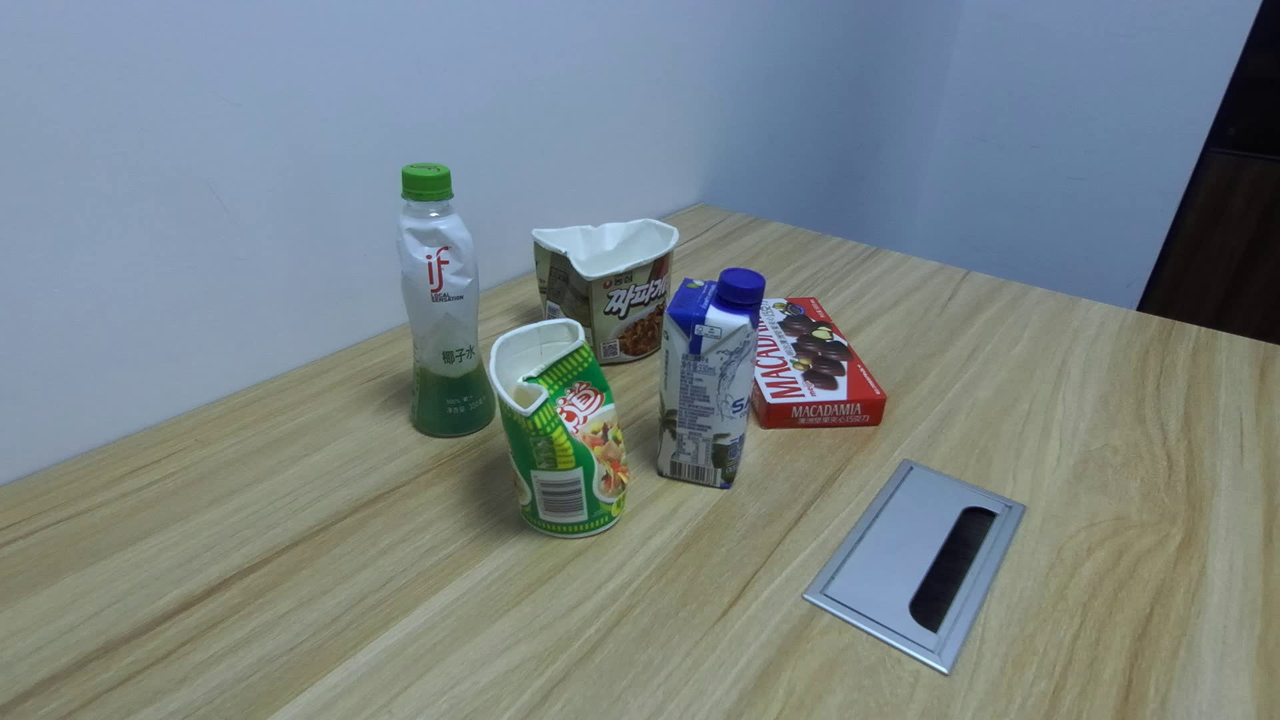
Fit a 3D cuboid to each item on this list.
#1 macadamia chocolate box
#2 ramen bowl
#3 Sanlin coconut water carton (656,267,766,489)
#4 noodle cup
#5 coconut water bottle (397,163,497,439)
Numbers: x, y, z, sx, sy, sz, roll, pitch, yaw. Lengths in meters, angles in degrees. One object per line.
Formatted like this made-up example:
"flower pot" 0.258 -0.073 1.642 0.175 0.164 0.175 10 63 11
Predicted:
"macadamia chocolate box" 0.130 -0.003 0.601 0.096 0.027 0.177 -2 30 -5
"ramen bowl" -0.021 -0.066 0.631 0.134 0.097 0.113 -20 36 -33
"Sanlin coconut water carton" 0.045 0.010 0.457 0.060 0.144 0.060 8 32 13
"noodle cup" -0.045 0.043 0.431 0.075 0.122 0.083 20 44 42
"coconut water bottle" -0.138 -0.039 0.494 0.067 0.187 0.067 1 27 0
